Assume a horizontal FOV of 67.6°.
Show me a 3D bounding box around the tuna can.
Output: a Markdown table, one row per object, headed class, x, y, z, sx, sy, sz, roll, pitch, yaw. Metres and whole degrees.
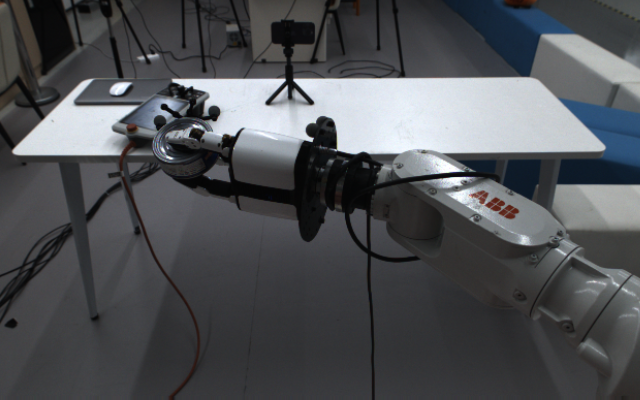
| class | x | y | z | sx | sy | sz | roll | pitch | yaw |
| --- | --- | --- | --- | --- | --- | --- | --- | --- | --- |
| tuna can | -0.182 | -0.072 | 0.664 | 0.085 | 0.034 | 0.085 | -3 | 58 | 5 |
